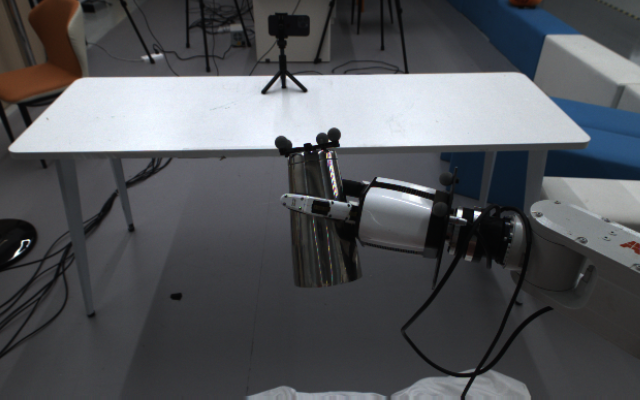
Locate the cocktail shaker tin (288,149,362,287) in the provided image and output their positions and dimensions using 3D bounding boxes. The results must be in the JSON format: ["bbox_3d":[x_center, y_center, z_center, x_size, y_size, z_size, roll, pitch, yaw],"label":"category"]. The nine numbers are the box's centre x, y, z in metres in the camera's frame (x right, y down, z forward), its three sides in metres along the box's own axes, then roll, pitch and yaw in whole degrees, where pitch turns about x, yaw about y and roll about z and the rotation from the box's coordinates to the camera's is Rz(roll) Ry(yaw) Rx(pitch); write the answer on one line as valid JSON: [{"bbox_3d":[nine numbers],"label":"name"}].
[{"bbox_3d":[0.000,0.023,0.646,0.093,0.170,0.093,-8,1,0],"label":"cocktail shaker tin"}]
